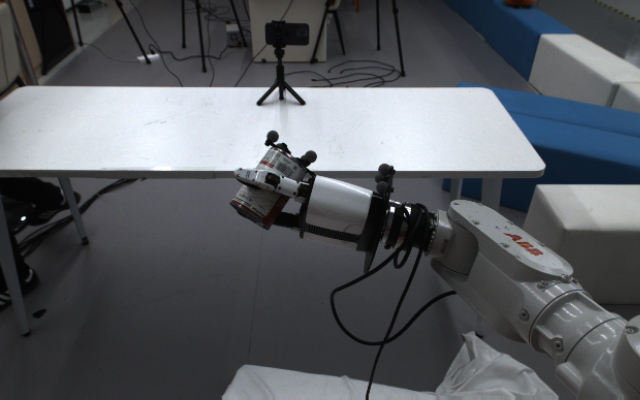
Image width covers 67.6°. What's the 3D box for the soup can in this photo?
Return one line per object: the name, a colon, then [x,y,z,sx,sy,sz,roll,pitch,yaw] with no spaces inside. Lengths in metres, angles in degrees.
soup can: [-0.073,-0.016,0.700,0.067,0.067,0.101,26,76,30]
